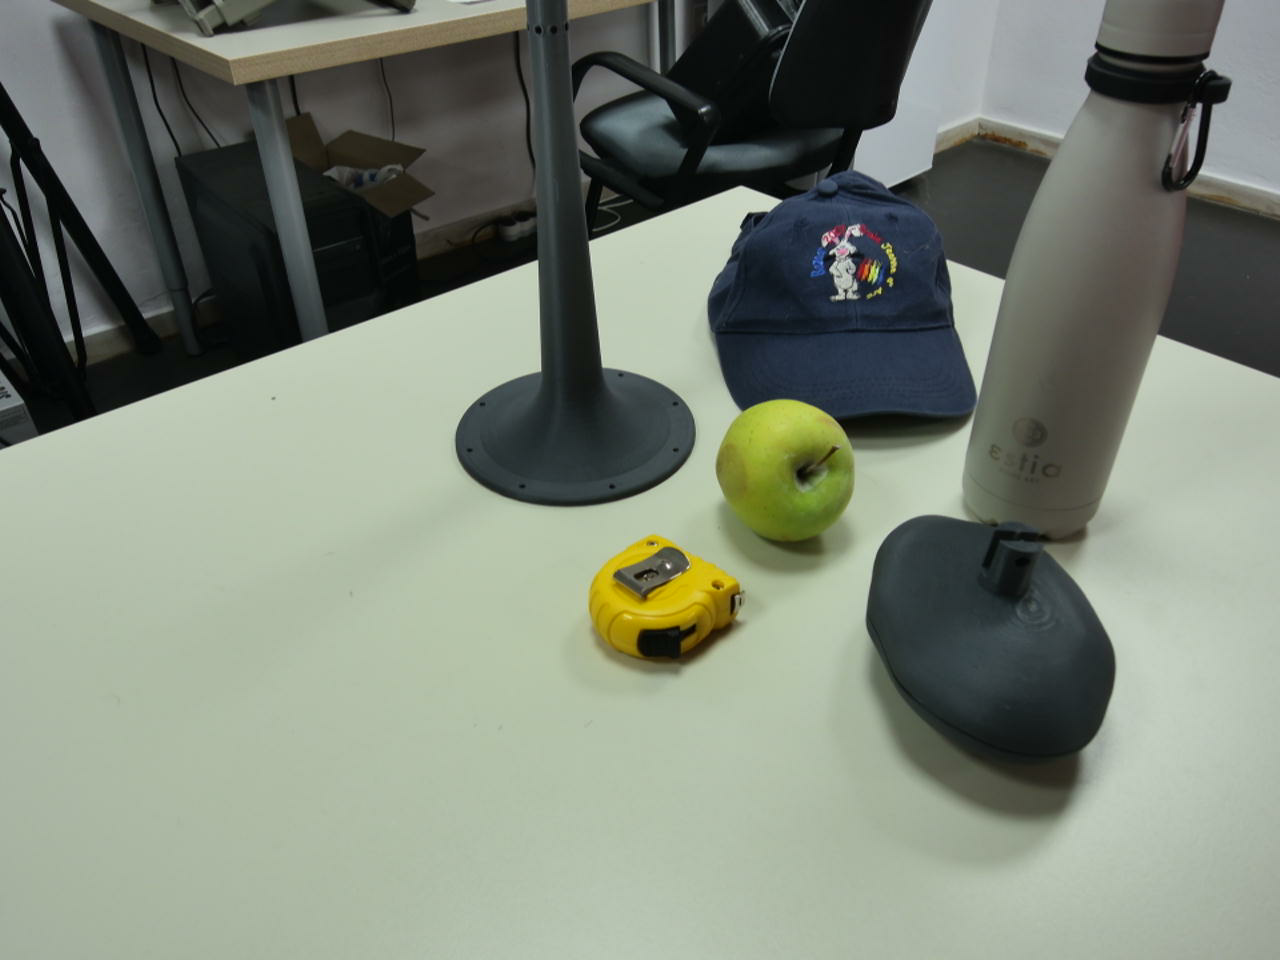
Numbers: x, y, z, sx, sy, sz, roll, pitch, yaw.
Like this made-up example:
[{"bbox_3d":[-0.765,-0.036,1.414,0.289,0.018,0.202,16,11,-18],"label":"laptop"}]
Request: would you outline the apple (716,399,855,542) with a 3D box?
[{"bbox_3d":[0.077,-0.007,0.531,0.072,0.075,0.077,2,36,4],"label":"apple"}]
